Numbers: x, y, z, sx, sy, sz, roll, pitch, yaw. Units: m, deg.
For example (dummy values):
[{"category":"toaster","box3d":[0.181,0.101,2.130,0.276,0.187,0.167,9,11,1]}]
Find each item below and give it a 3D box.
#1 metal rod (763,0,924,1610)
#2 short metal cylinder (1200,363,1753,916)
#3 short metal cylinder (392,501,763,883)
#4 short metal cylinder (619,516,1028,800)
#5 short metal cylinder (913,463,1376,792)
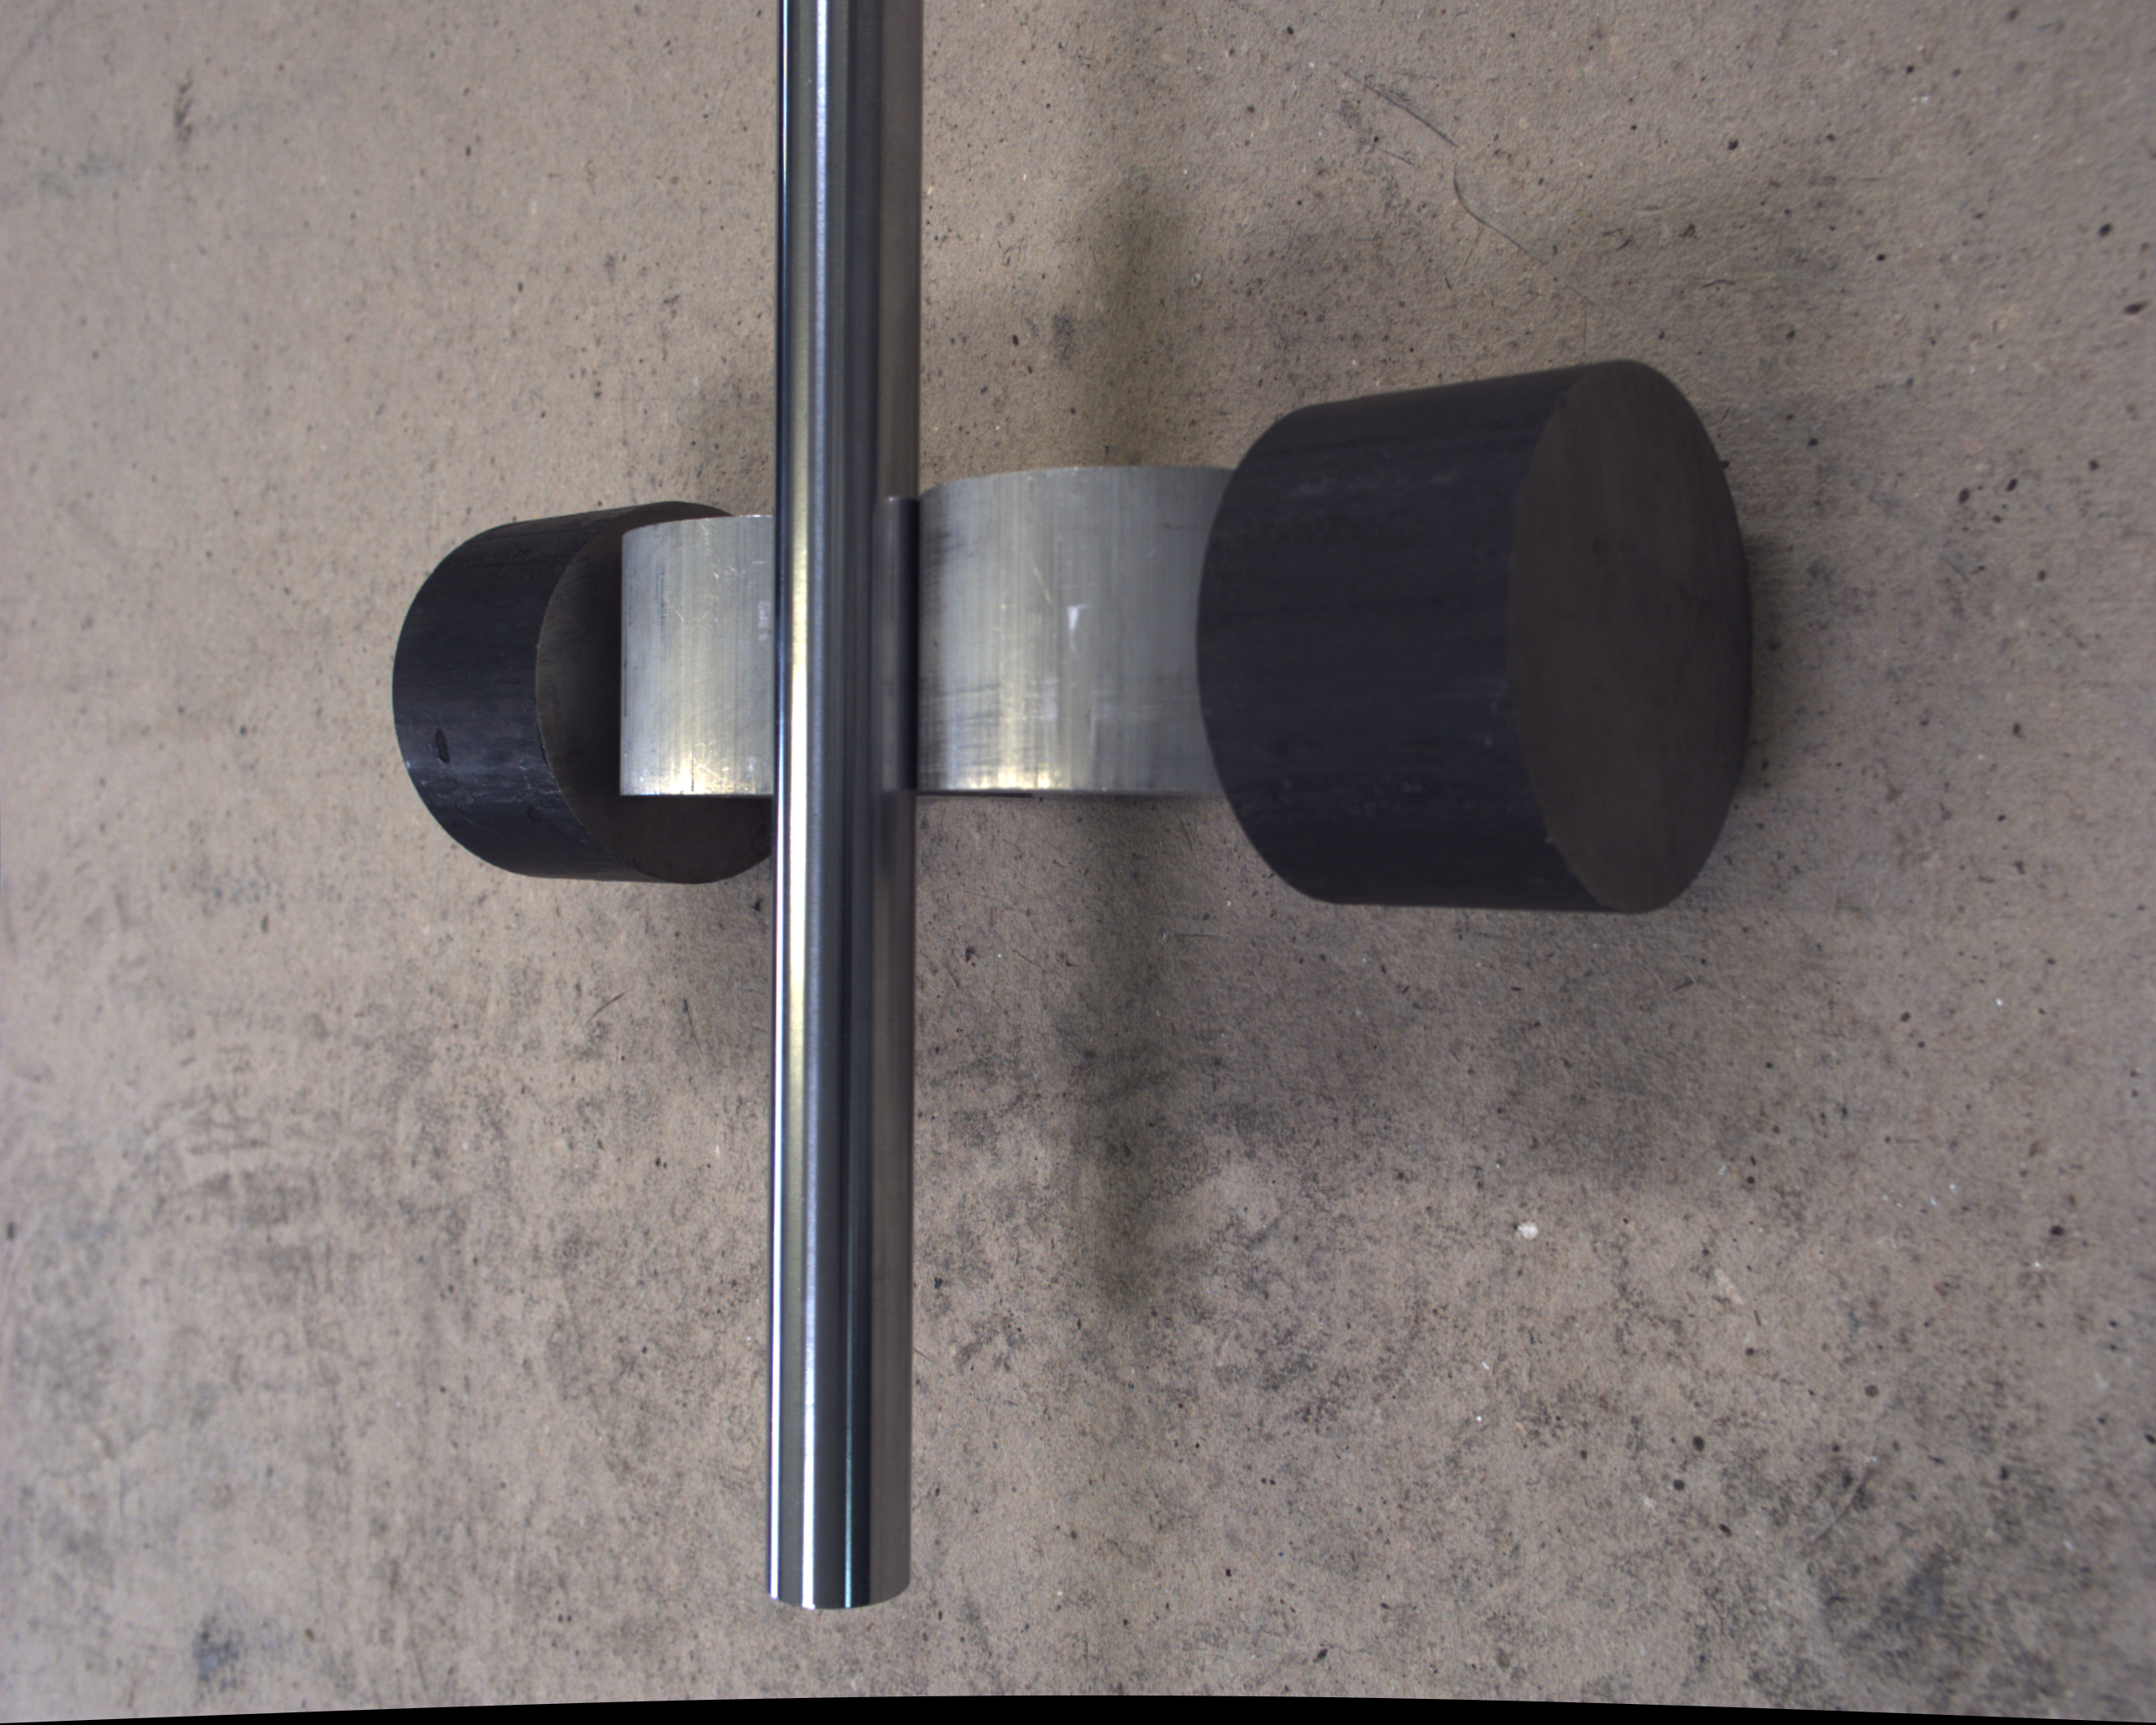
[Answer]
[{"category":"metal rod","box3d":[-0.040,-0.024,0.359,0.025,0.025,0.298,1,91,40]},{"category":"short metal cylinder","box3d":[0.063,-0.033,0.319,0.050,0.081,0.080,1,91,40]},{"category":"short metal cylinder","box3d":[-0.099,-0.036,0.452,0.050,0.081,0.080,1,91,40]},{"category":"short metal cylinder","box3d":[-0.049,-0.037,0.411,0.080,0.081,0.050,1,91,40]},{"category":"short metal cylinder","box3d":[0.012,-0.037,0.360,0.080,0.081,0.050,1,91,40]}]
